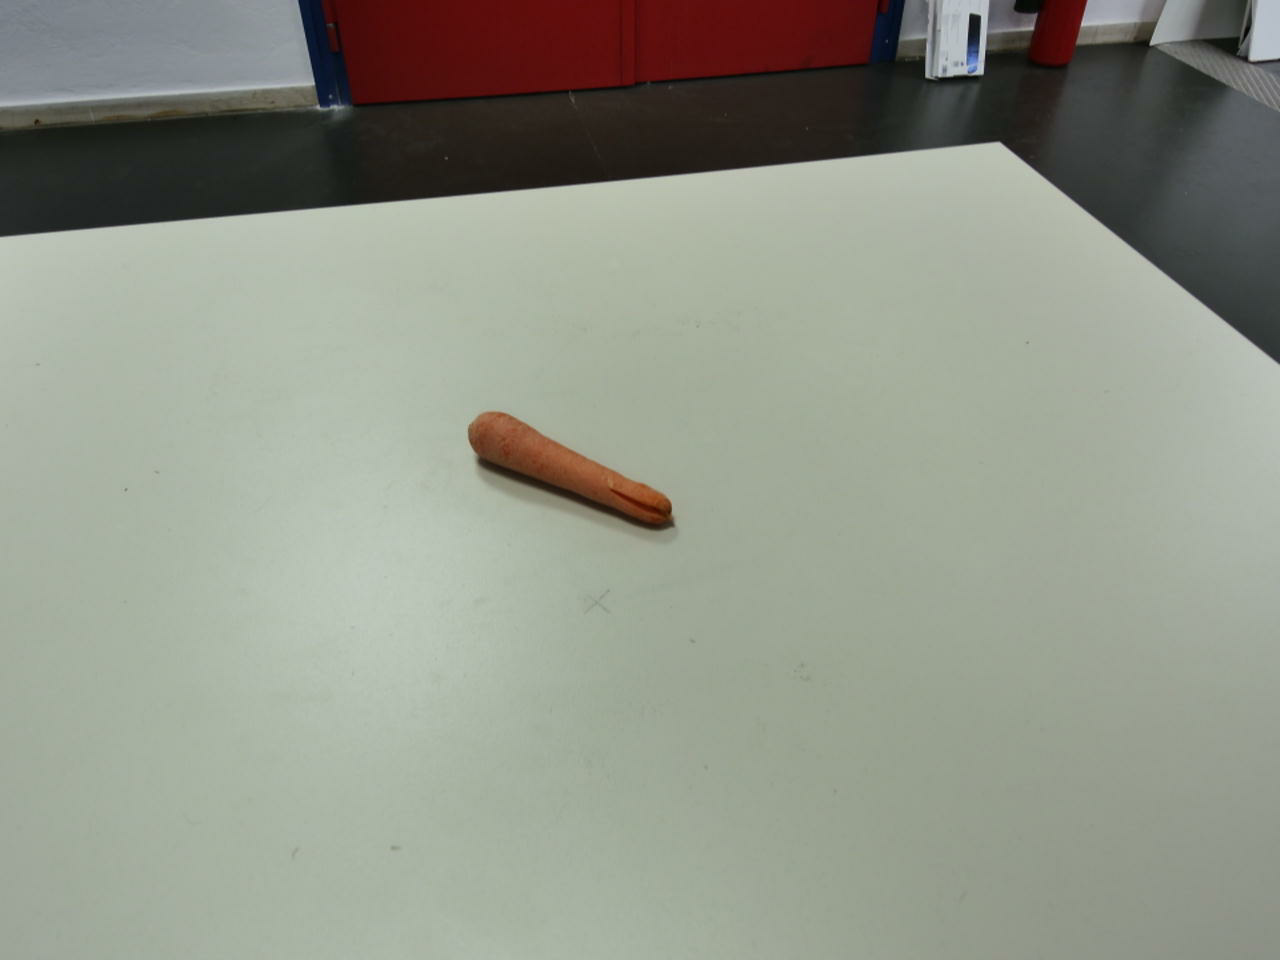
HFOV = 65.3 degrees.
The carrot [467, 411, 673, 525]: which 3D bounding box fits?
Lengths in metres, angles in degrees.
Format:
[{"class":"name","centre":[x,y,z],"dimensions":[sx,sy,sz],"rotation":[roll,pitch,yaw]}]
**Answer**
[{"class":"carrot","centre":[-0.042,-0.008,0.560],"dimensions":[0.136,0.032,0.030],"rotation":[22,43,25]}]
